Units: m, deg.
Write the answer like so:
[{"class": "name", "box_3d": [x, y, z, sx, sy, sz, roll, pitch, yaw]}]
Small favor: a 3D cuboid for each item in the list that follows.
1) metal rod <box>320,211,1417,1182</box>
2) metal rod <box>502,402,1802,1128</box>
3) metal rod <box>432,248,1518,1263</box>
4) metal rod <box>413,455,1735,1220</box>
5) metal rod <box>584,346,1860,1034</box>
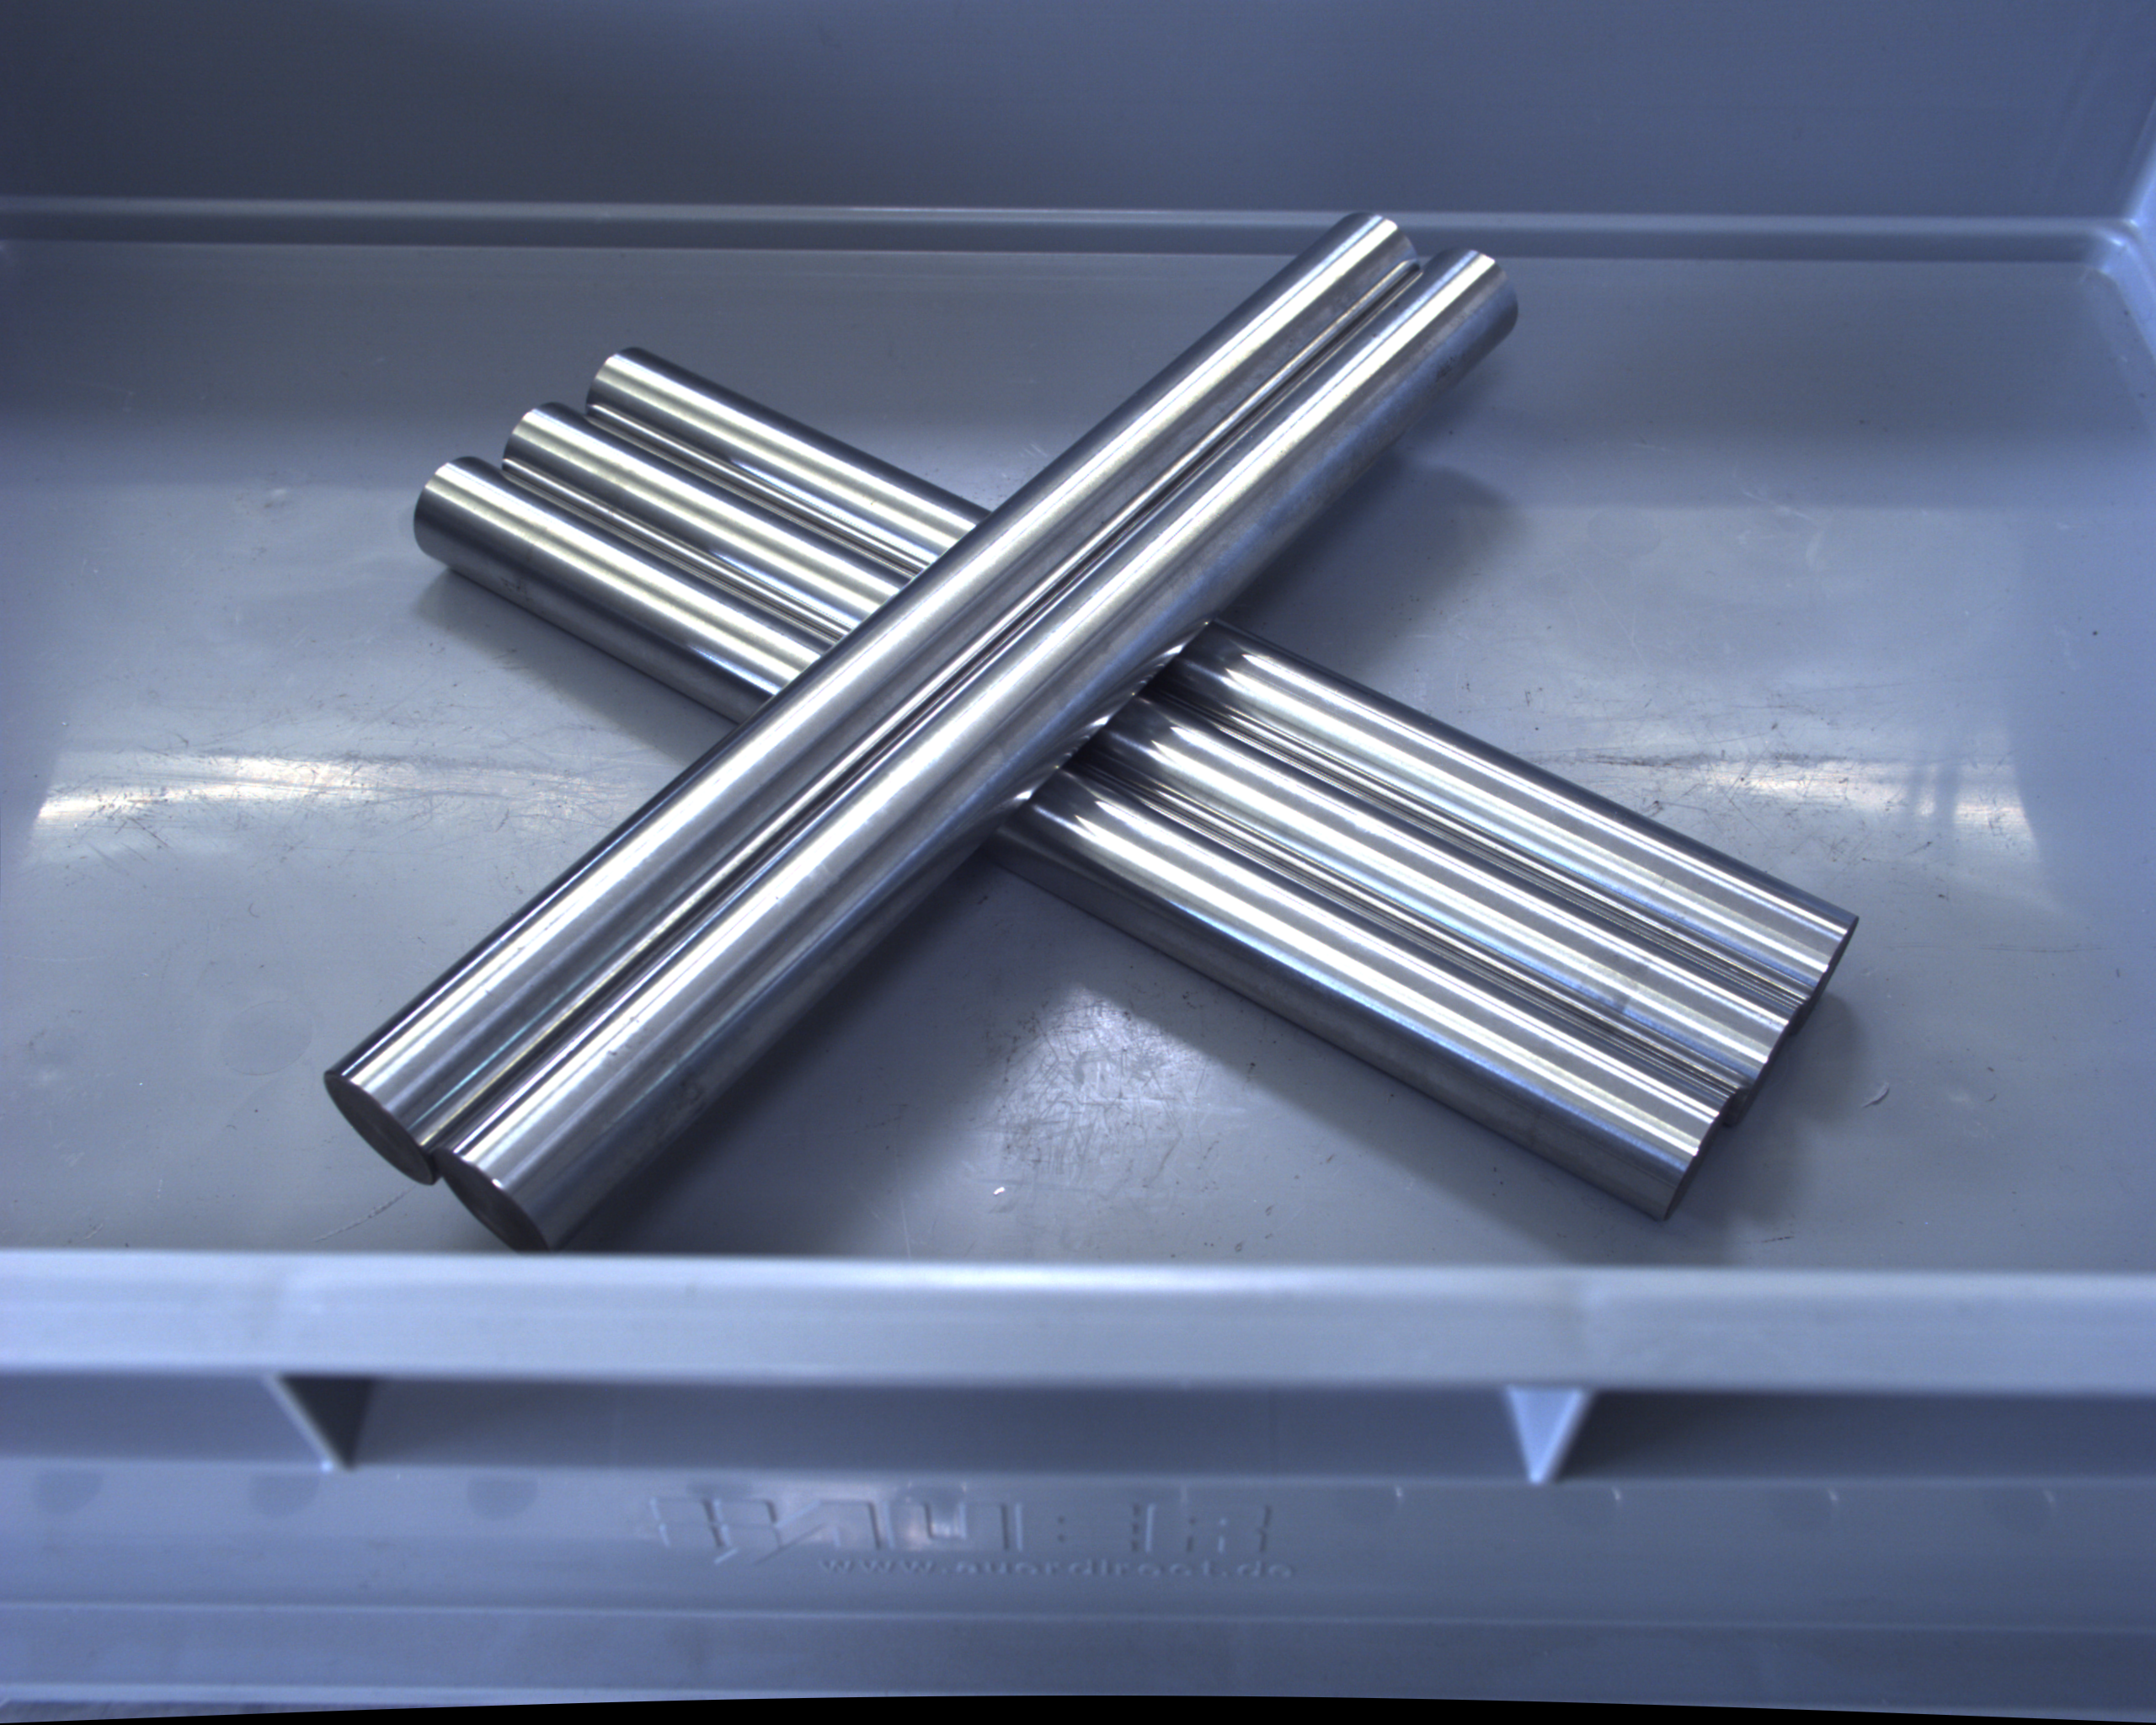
[{"class": "metal rod", "box_3d": [-0.022, -0.050, 0.412, 0.025, 0.025, 0.301, 30, 56, 23]}, {"class": "metal rod", "box_3d": [0.000, -0.029, 0.427, 0.300, 0.025, 0.025, 28, 55, 21]}, {"class": "metal rod", "box_3d": [-0.001, -0.038, 0.403, 0.025, 0.025, 0.301, 30, 56, 23]}, {"class": "metal rod", "box_3d": [-0.016, -0.014, 0.415, 0.300, 0.025, 0.025, 28, 55, 21]}, {"class": "metal rod", "box_3d": [0.015, -0.045, 0.441, 0.300, 0.025, 0.025, 28, 56, 21]}]
